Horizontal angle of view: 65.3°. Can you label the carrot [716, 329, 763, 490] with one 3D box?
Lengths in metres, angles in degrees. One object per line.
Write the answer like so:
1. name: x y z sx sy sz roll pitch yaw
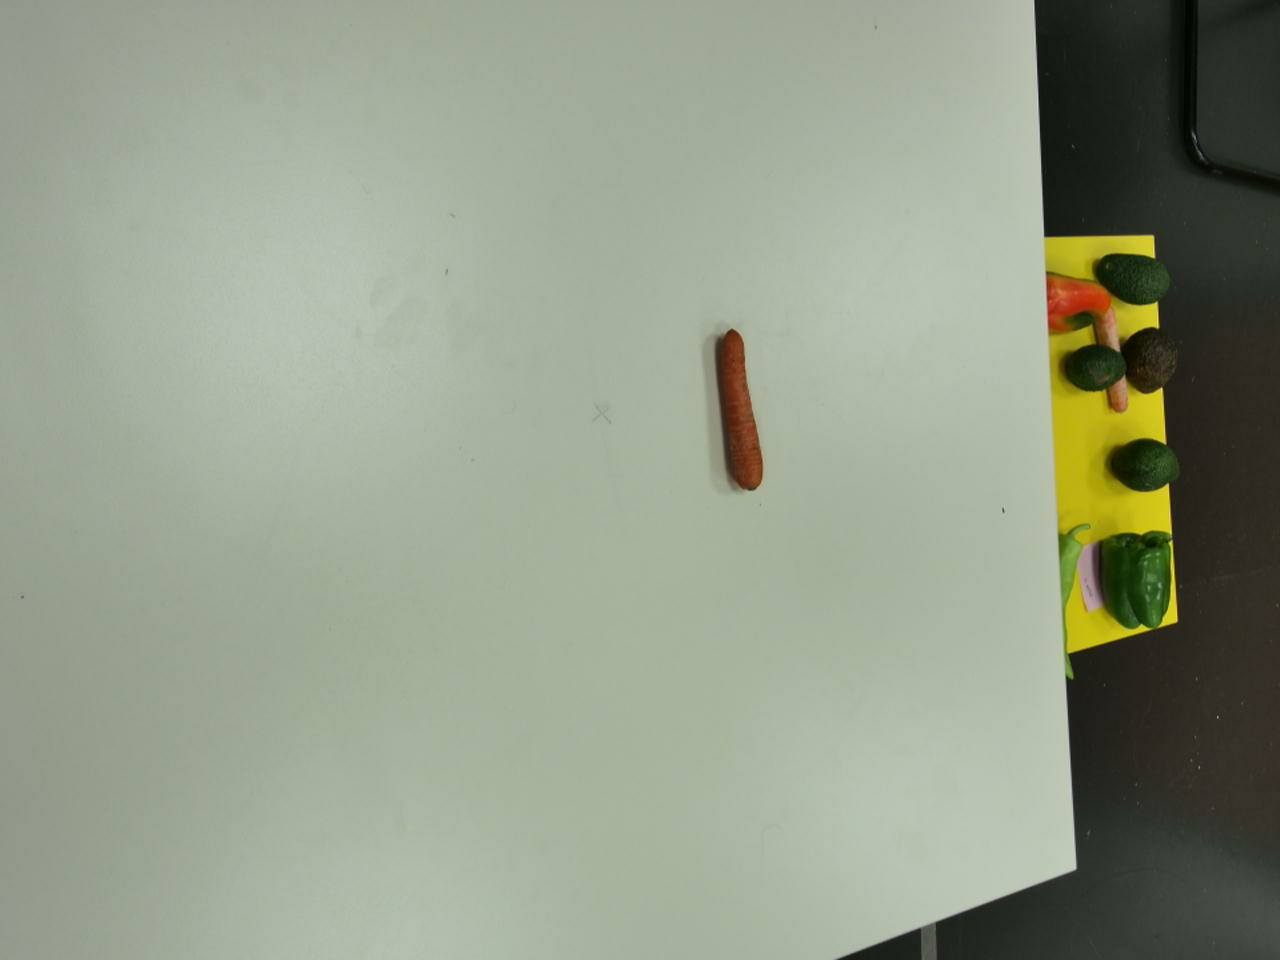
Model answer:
1. carrot: 0.075 -0.052 0.744 0.024 0.023 0.122 -7 94 -28
